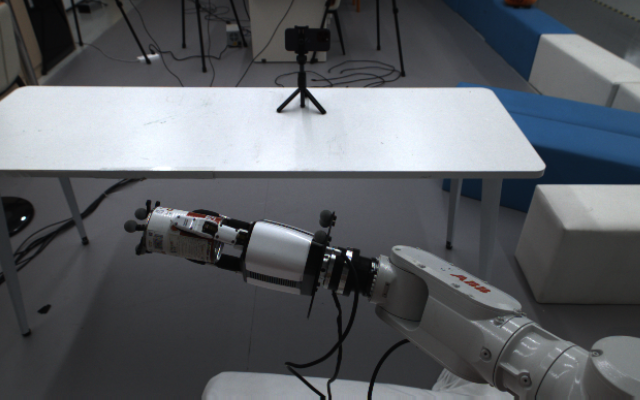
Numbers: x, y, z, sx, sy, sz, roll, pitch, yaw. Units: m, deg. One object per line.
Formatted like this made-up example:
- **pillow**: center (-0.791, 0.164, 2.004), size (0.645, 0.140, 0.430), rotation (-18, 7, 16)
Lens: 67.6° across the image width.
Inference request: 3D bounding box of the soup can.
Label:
- **soup can**: center (-0.190, 0.051, 0.695), size (0.101, 0.067, 0.067), rotation (10, 35, -1)
